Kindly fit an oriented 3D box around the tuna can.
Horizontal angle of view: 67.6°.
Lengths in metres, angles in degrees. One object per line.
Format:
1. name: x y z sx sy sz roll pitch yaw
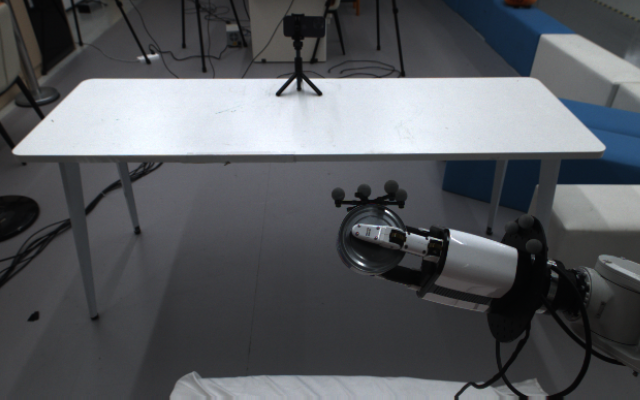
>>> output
1. tuna can: 0.066 0.047 0.597 0.085 0.034 0.085 1 72 -4
